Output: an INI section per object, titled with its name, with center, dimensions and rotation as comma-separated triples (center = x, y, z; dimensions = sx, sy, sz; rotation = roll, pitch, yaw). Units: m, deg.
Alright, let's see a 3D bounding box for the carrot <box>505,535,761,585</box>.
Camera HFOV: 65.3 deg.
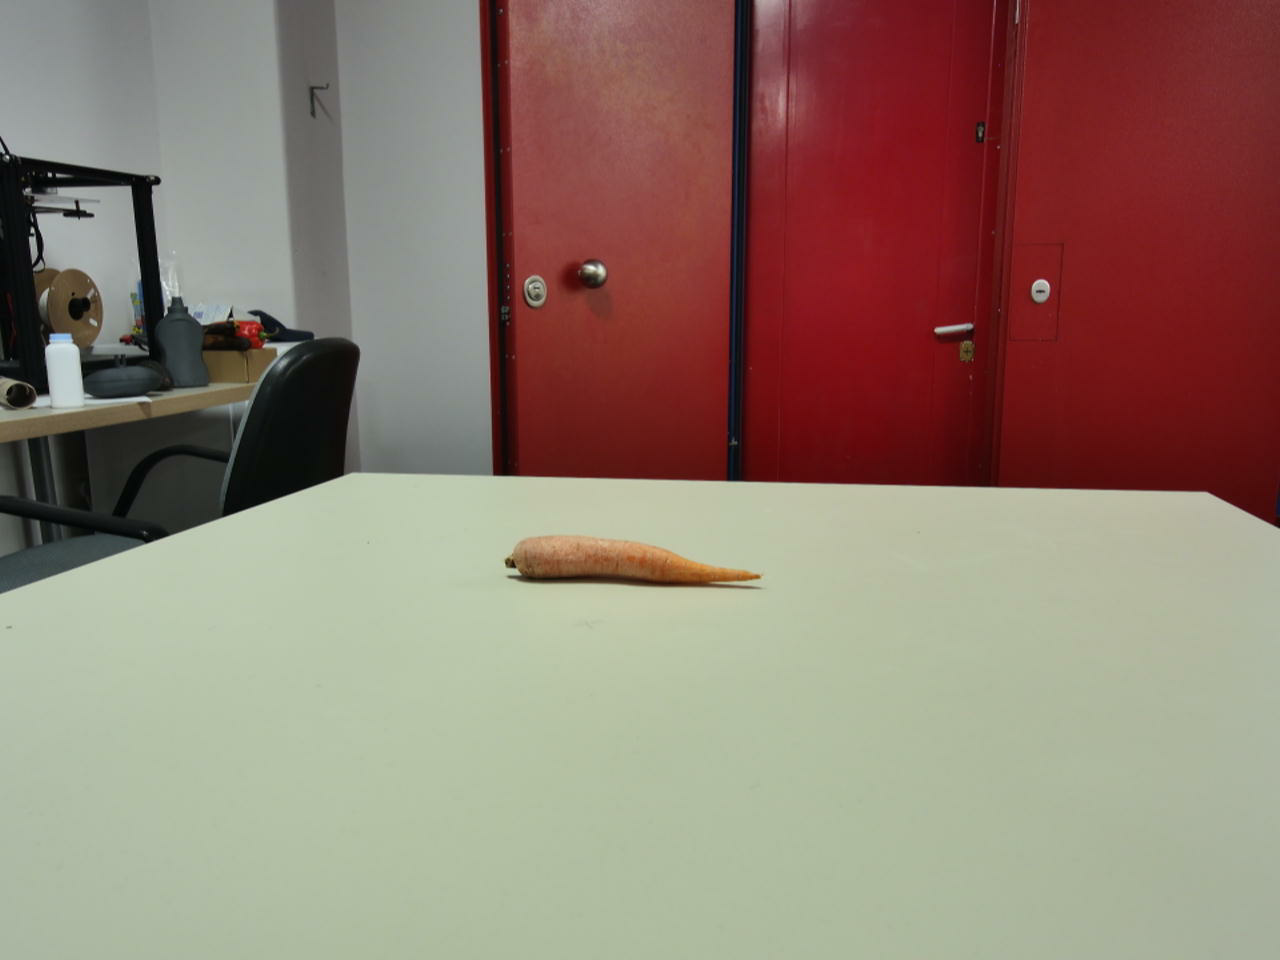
[carrot]
center = -0.007, 0.050, 0.625
dimensions = 0.163, 0.029, 0.031
rotation = 2, 8, 11
